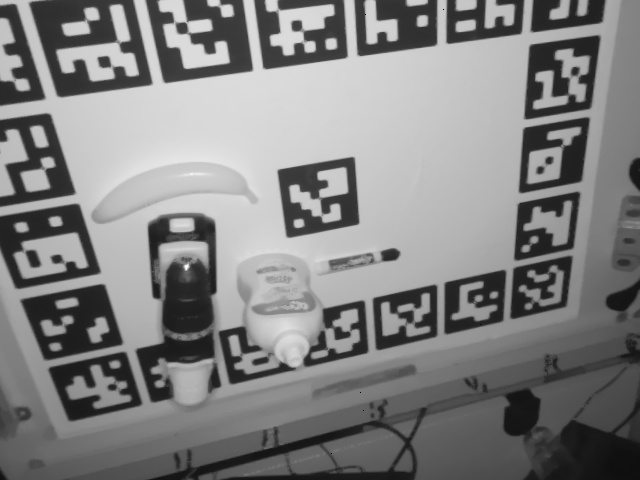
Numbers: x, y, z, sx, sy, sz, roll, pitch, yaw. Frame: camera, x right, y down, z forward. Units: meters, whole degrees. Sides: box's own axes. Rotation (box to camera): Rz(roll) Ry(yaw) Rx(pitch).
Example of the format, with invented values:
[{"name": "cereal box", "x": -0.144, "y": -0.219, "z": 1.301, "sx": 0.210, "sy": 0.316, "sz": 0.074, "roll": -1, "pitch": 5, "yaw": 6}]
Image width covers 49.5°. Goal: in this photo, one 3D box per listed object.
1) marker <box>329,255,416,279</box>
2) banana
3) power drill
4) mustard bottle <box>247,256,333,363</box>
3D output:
[{"name": "marker", "x": 0.073, "y": 0.036, "z": 0.952, "sx": 0.122, "sy": 0.019, "sz": 0.019, "roll": -8, "pitch": 117, "yaw": -10}, {"name": "banana", "x": -0.156, "y": -0.067, "z": 0.837, "sx": 0.199, "sy": 0.039, "sz": 0.073, "roll": -3, "pitch": 115, "yaw": -14}, {"name": "power drill", "x": -0.141, "y": 0.055, "z": 0.793, "sx": 0.058, "sy": 0.187, "sz": 0.182, "roll": 4, "pitch": 118, "yaw": -12}, {"name": "mustard bottle", "x": -0.036, "y": 0.087, "z": 0.853, "sx": 0.097, "sy": 0.192, "sz": 0.058, "roll": 1, "pitch": 117, "yaw": -12}]
